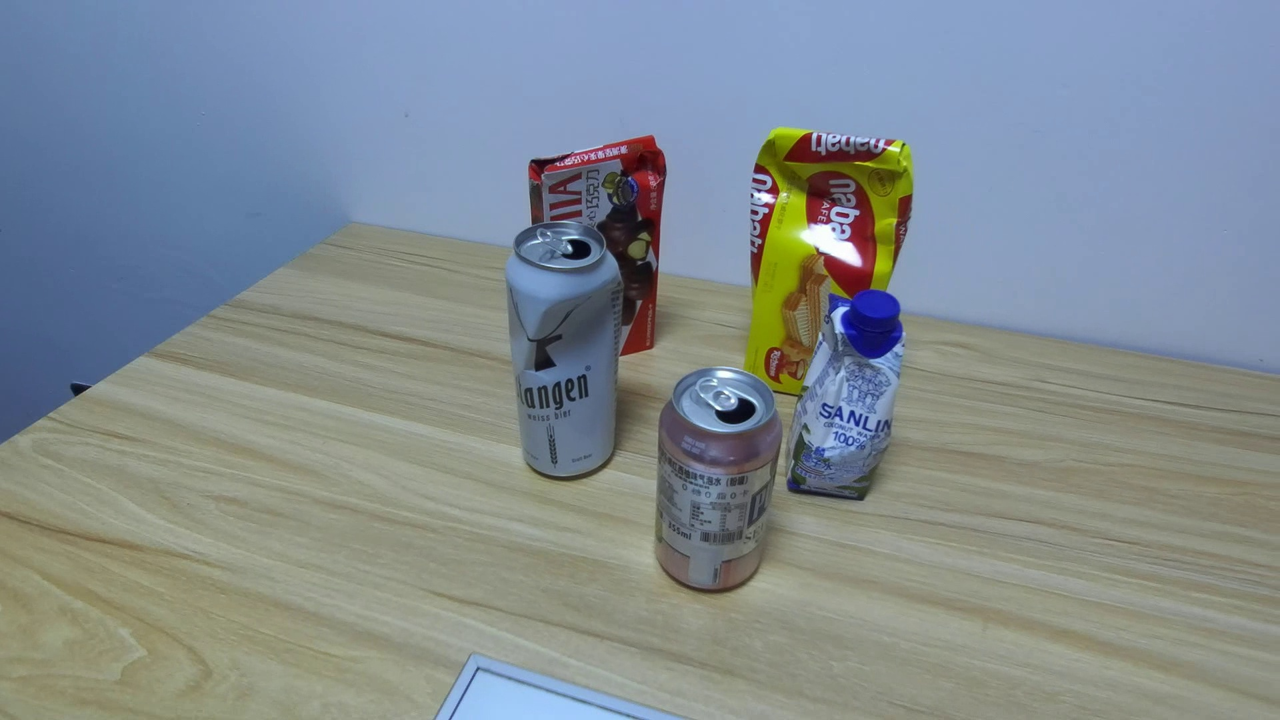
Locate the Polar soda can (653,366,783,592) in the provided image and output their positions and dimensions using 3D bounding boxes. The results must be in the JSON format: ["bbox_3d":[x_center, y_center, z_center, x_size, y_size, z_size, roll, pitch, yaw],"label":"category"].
[{"bbox_3d":[0.043,0.069,0.403,0.067,0.126,0.067,0,35,0],"label":"Polar soda can"}]

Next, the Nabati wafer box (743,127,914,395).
[{"bbox_3d":[0.132,-0.064,0.524,0.113,0.205,0.042,9,33,13],"label":"Nabati wafer box"}]

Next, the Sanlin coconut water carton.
[{"bbox_3d":[0.140,0.019,0.464,0.057,0.144,0.068,10,28,1],"label":"Sanlin coconut water carton"}]

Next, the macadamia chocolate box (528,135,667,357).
[{"bbox_3d":[-0.030,-0.079,0.555,0.103,0.187,0.027,-13,41,-17],"label":"macadamia chocolate box"}]

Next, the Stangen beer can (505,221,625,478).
[{"bbox_3d":[-0.048,-0.002,0.460,0.070,0.173,0.069,9,37,11],"label":"Stangen beer can"}]
